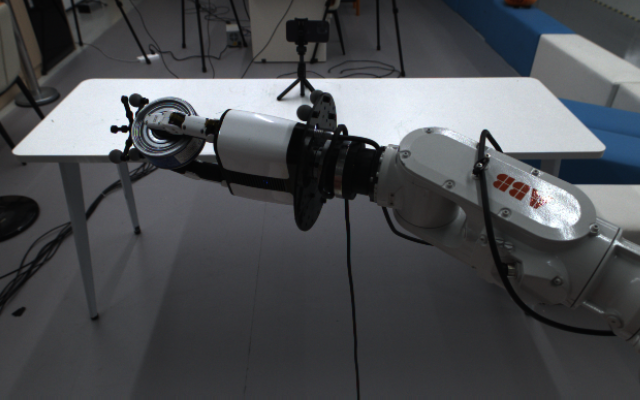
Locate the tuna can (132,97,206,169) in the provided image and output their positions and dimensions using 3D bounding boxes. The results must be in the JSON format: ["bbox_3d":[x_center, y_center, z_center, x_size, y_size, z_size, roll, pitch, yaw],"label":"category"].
[{"bbox_3d":[-0.184,-0.080,0.594,0.085,0.034,0.085,-2,70,6],"label":"tuna can"}]
